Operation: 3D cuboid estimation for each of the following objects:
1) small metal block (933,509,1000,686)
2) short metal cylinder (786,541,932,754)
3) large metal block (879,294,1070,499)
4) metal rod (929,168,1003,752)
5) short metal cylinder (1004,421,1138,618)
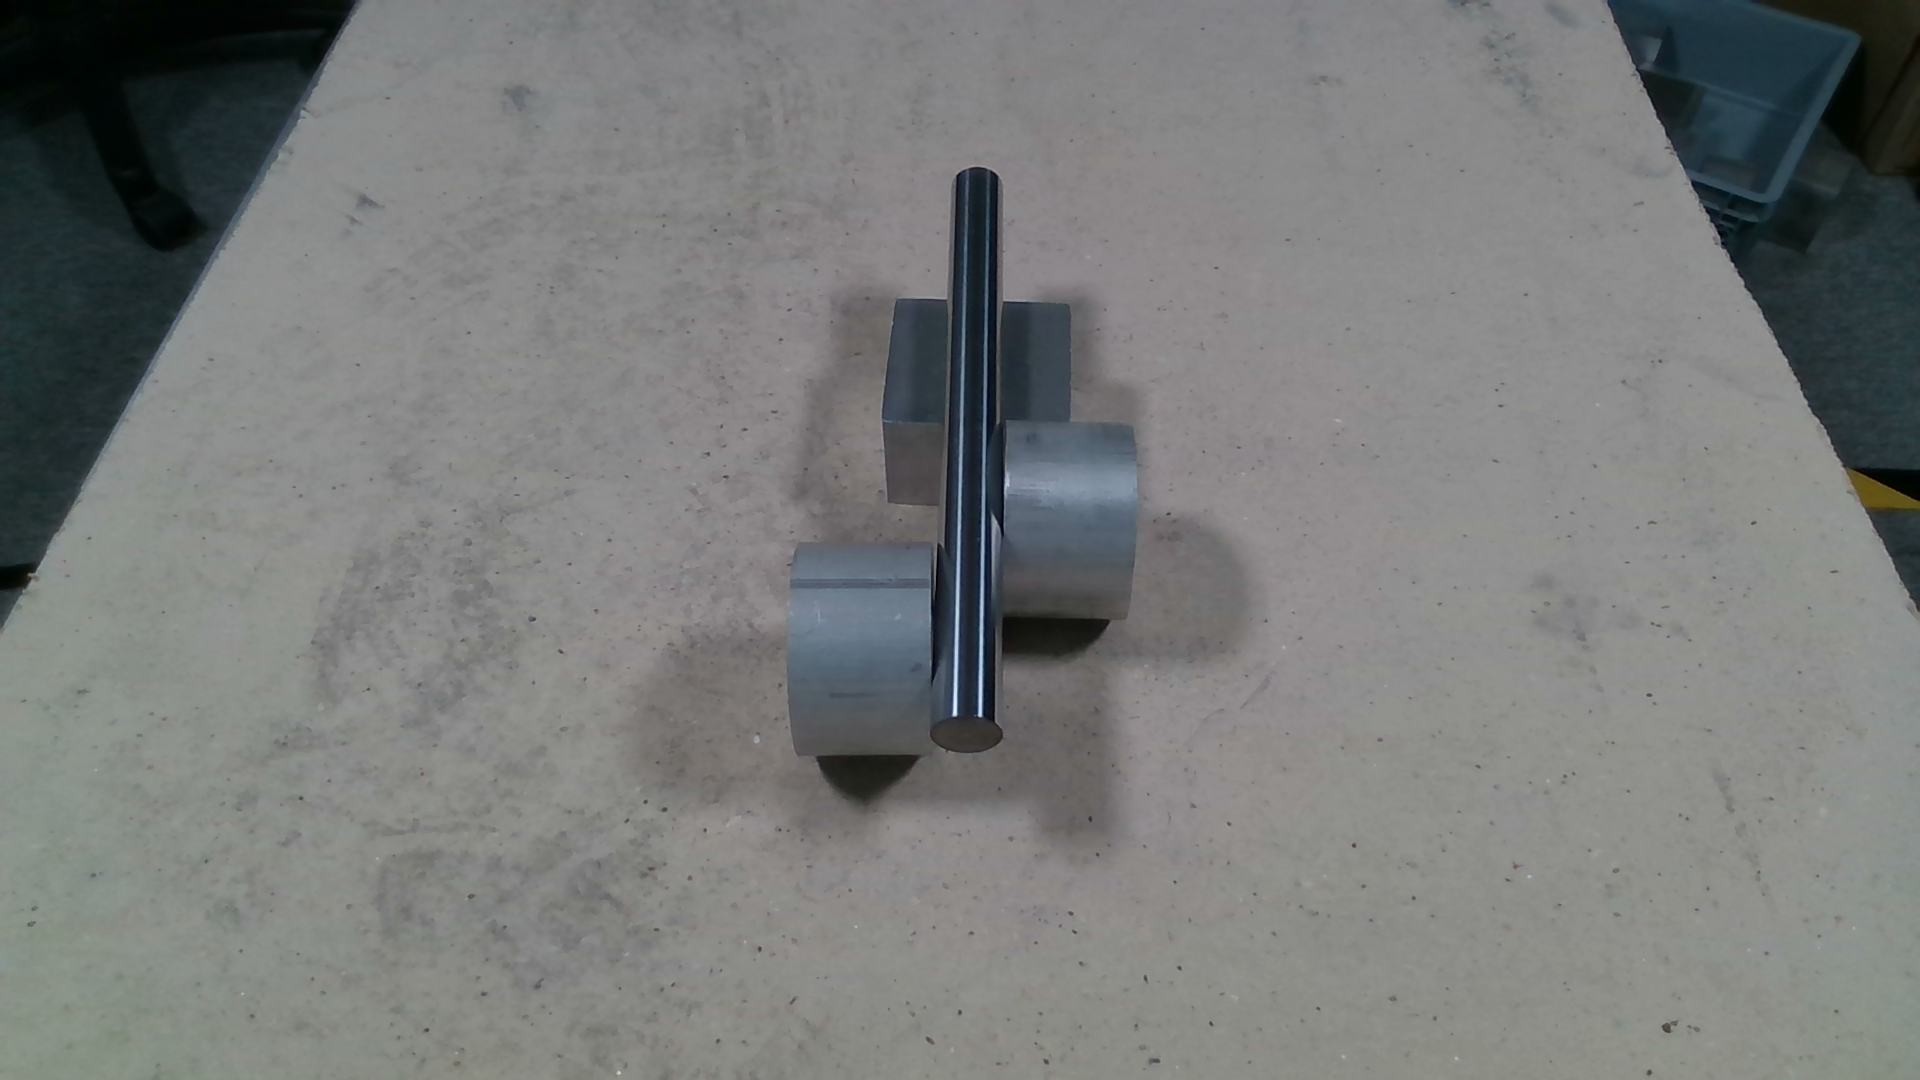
[{"bbox_3d":[0.003,0.023,0.550,0.025,0.050,0.050,1,50,1],"label":"small metal block"},{"bbox_3d":[-0.035,0.040,0.517,0.050,0.080,0.080,0,50,0],"label":"short metal cylinder"},{"bbox_3d":[0.008,-0.064,0.620,0.080,0.050,0.080,2,50,2],"label":"large metal block"},{"bbox_3d":[0.005,-0.051,0.563,0.025,0.025,0.299,1,51,1],"label":"metal rod"},{"bbox_3d":[0.043,-0.008,0.559,0.050,0.080,0.080,2,50,1],"label":"short metal cylinder"}]
